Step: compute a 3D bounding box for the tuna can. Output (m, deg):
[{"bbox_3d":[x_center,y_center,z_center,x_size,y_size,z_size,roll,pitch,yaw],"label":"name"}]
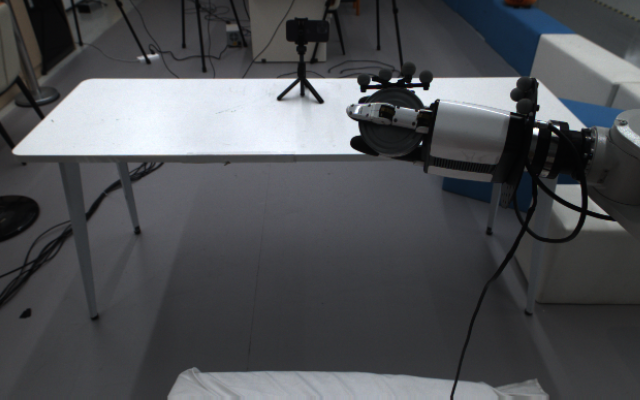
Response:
[{"bbox_3d":[0.094,-0.100,0.623,0.085,0.085,0.034,13,-2,15],"label":"tuna can"}]
